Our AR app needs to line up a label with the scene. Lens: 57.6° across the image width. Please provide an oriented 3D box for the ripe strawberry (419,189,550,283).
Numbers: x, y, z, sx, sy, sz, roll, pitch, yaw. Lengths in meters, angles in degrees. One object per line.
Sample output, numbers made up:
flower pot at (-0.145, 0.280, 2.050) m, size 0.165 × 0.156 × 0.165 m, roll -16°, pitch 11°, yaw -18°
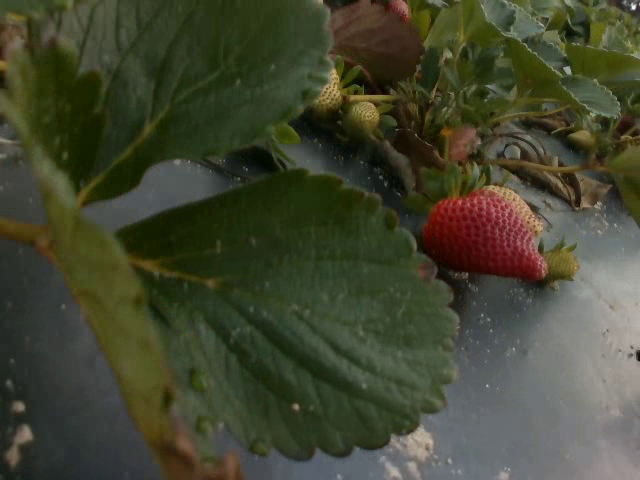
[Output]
ripe strawberry at (0.073, -0.001, 0.246) m, size 0.050 × 0.033 × 0.059 m, roll 1°, pitch 31°, yaw -43°
